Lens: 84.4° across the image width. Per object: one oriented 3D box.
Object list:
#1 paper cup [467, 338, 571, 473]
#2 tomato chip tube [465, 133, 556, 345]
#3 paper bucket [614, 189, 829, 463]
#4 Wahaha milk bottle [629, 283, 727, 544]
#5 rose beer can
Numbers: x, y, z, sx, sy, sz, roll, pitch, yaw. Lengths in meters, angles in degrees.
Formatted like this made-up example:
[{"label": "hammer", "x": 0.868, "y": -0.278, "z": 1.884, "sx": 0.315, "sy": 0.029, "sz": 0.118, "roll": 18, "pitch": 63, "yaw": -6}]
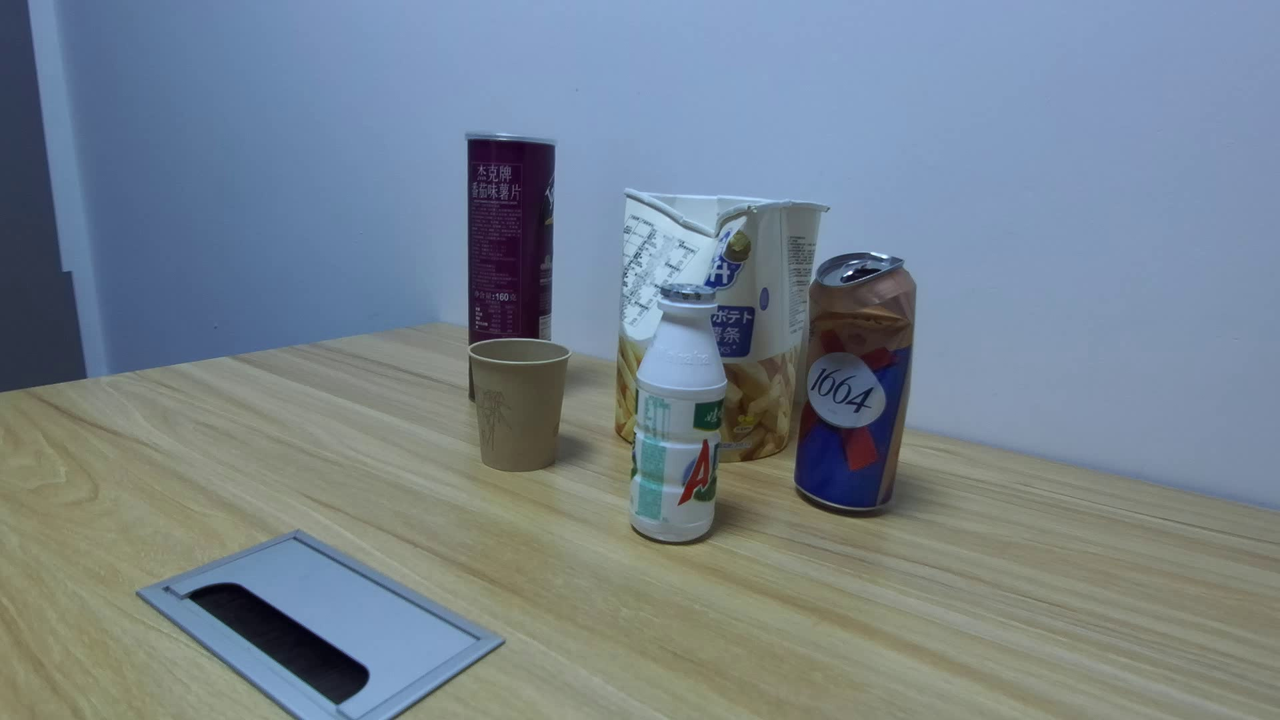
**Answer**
[{"label": "paper cup", "x": -0.088, "y": 0.033, "z": 0.514, "sx": 0.075, "sy": 0.082, "sz": 0.075, "roll": 3, "pitch": 14, "yaw": 0}, {"label": "tomato chip tube", "x": -0.117, "y": -0.077, "z": 0.638, "sx": 0.078, "sy": 0.233, "sz": 0.078, "roll": 3, "pitch": 11, "yaw": 0}, {"label": "paper bucket", "x": 0.050, "y": -0.036, "z": 0.583, "sx": 0.162, "sy": 0.202, "sz": 0.170, "roll": 10, "pitch": 13, "yaw": 31}, {"label": "Wahaha milk bottle", "x": 0.023, "y": 0.031, "z": 0.412, "sx": 0.053, "sy": 0.147, "sz": 0.053, "roll": 4, "pitch": 14, "yaw": -1}, {"label": "rose beer can", "x": 0.141, "y": 0.016, "z": 0.464, "sx": 0.069, "sy": 0.168, "sz": 0.070, "roll": 5, "pitch": 17, "yaw": 18}]
